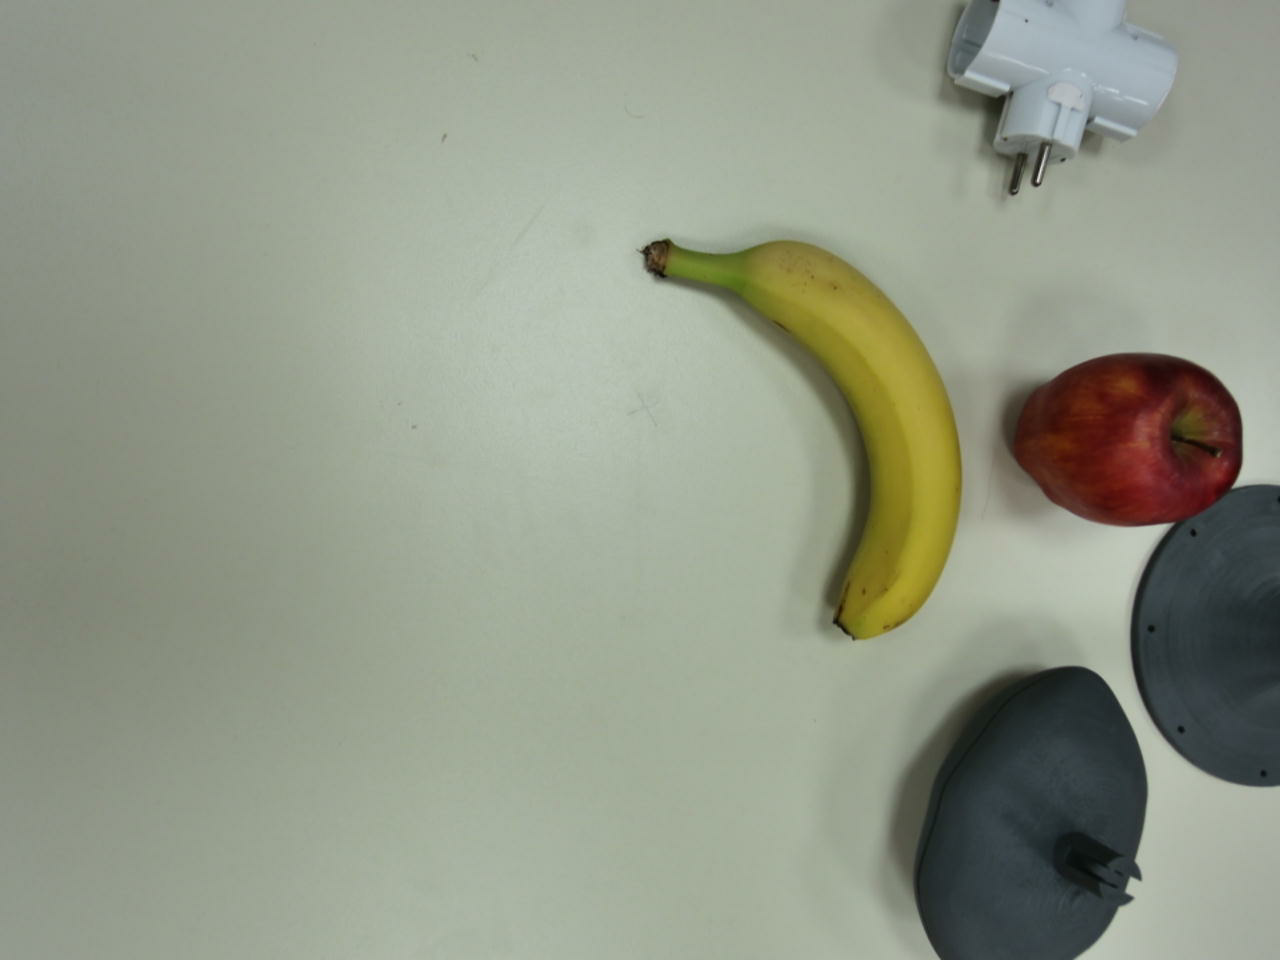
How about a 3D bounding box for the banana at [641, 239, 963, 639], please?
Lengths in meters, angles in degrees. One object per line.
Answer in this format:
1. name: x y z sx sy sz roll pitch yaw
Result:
1. banana: 0.088 -0.035 0.441 0.094 0.041 0.196 -27 95 -10
